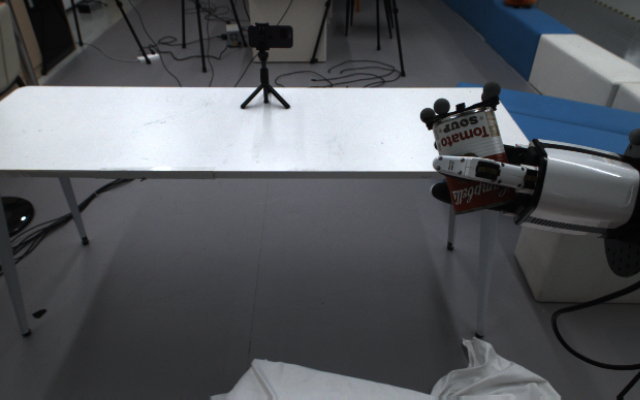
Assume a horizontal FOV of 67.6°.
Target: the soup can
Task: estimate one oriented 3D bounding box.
[{"bbox_3d":[0.167,-0.043,0.525,0.067,0.101,0.067,-14,-2,-1],"label":"soup can"}]
